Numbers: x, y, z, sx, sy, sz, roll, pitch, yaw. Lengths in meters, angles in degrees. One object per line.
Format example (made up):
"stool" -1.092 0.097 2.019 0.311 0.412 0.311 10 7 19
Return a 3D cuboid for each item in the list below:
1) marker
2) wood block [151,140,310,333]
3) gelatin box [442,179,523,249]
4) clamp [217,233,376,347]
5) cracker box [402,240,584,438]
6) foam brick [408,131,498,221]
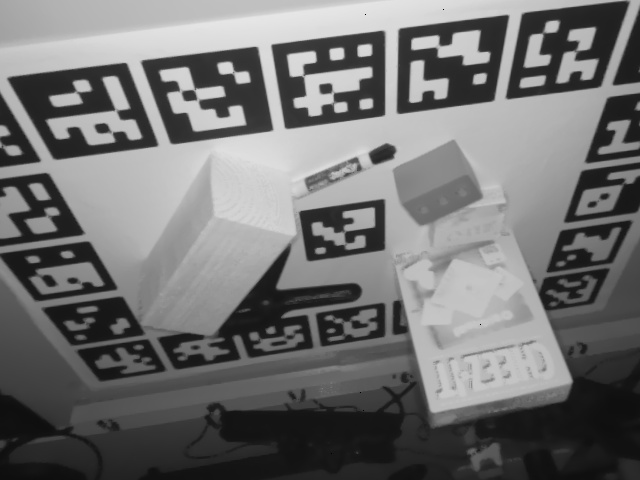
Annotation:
"marker" 0.049 -0.085 0.725 0.120 0.020 0.019 -22 135 13
"wood block" -0.102 0.004 0.747 0.091 0.091 0.203 15 135 -28
"gelatin box" 0.188 -0.030 0.812 0.089 0.030 0.073 -10 136 -1
"clamp" -0.053 0.080 0.875 0.200 0.037 0.166 -31 134 21
"cracker box" 0.195 0.111 0.819 0.164 0.215 0.071 -9 139 3
"foam brick" 0.142 -0.067 0.741 0.077 0.051 0.053 -26 134 16
